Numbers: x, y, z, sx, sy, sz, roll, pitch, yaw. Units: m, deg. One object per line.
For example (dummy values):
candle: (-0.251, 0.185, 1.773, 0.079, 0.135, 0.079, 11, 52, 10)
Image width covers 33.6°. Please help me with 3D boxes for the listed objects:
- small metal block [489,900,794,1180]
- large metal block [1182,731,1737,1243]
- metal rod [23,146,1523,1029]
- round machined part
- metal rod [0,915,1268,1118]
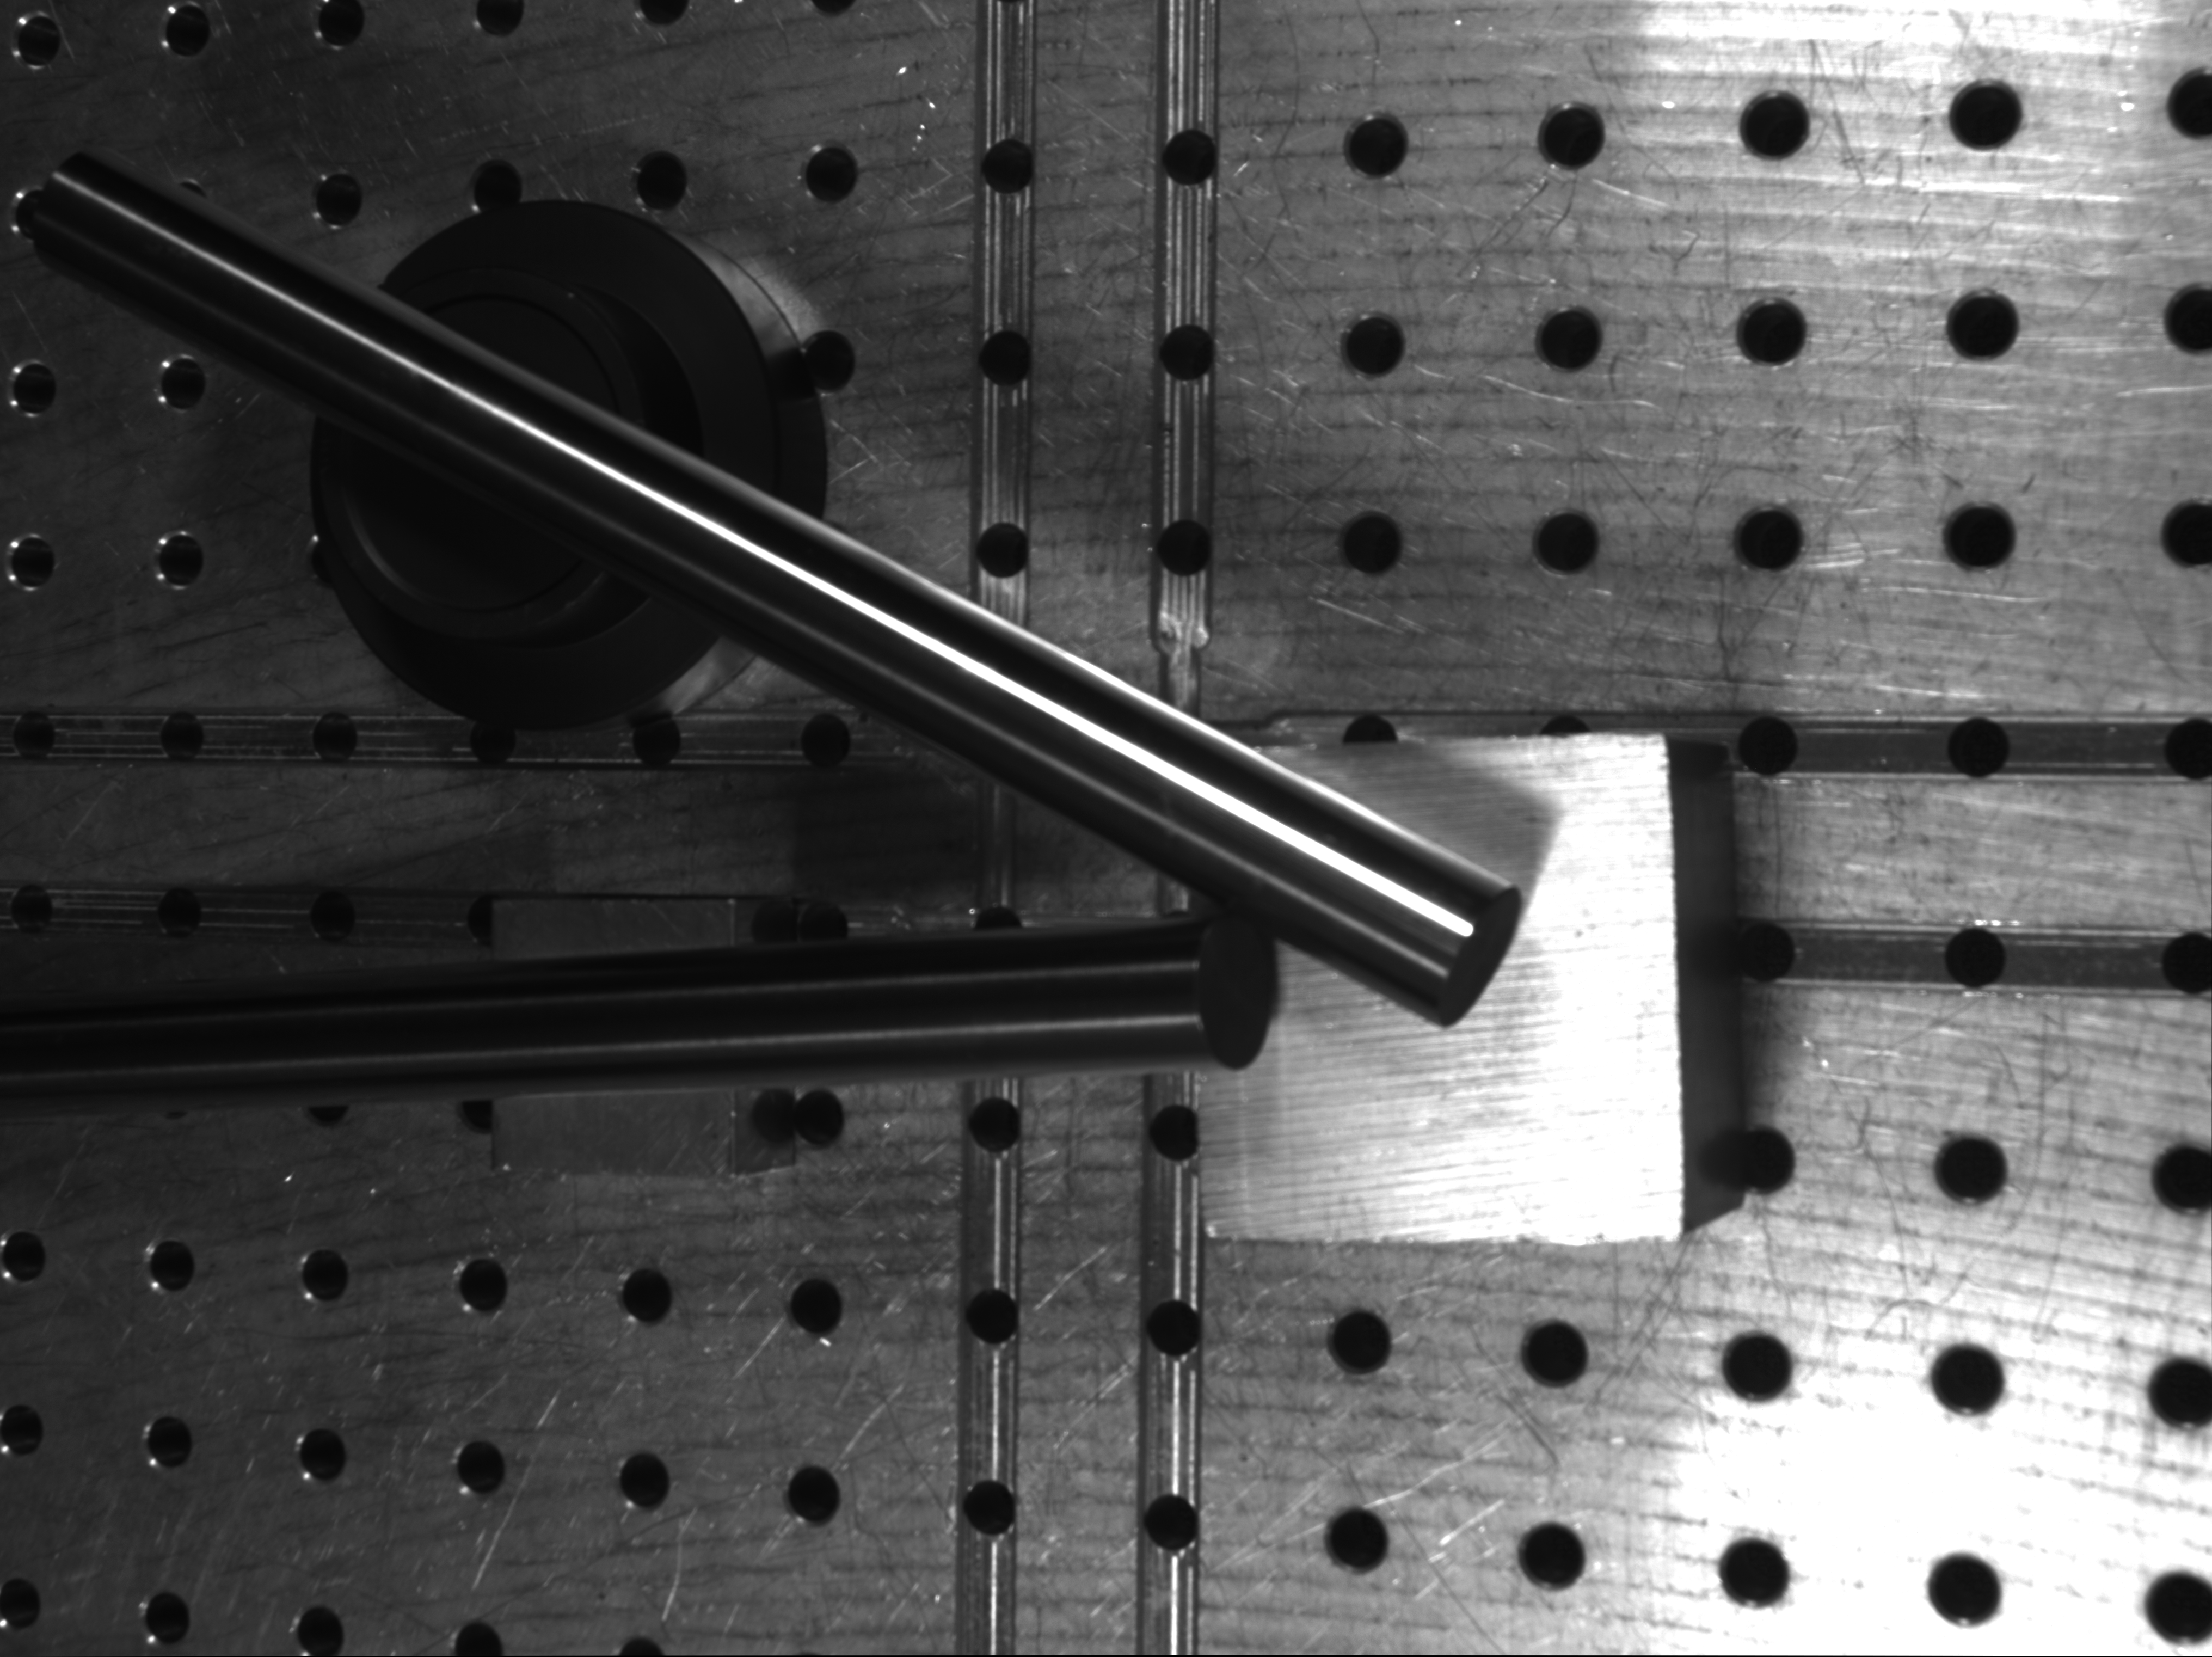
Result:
small metal block: (-0.086, 0.038, 0.678, 0.050, 0.025, 0.050, 0, 90, 20)
large metal block: (0.060, 0.026, 0.609, 0.080, 0.050, 0.080, -2, 89, 20)
metal rod: (-0.065, -0.047, 0.619, 0.299, 0.025, 0.025, 28, 99, 20)
round machined part: (-0.105, -0.067, 0.675, 0.098, 0.042, 0.098, 0, 90, 20)
metal rod: (-0.109, 0.036, 0.657, 0.299, 0.025, 0.025, -4, 88, 30)
